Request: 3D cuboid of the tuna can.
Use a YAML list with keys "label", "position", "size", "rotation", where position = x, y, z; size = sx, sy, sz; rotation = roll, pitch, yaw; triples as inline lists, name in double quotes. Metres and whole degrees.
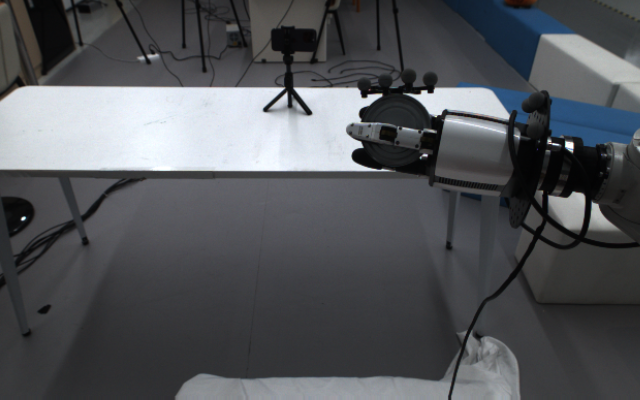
- label: "tuna can"
  position: [0.095, -0.085, 0.590]
  size: [0.085, 0.085, 0.034]
  rotation: [15, 10, 18]
